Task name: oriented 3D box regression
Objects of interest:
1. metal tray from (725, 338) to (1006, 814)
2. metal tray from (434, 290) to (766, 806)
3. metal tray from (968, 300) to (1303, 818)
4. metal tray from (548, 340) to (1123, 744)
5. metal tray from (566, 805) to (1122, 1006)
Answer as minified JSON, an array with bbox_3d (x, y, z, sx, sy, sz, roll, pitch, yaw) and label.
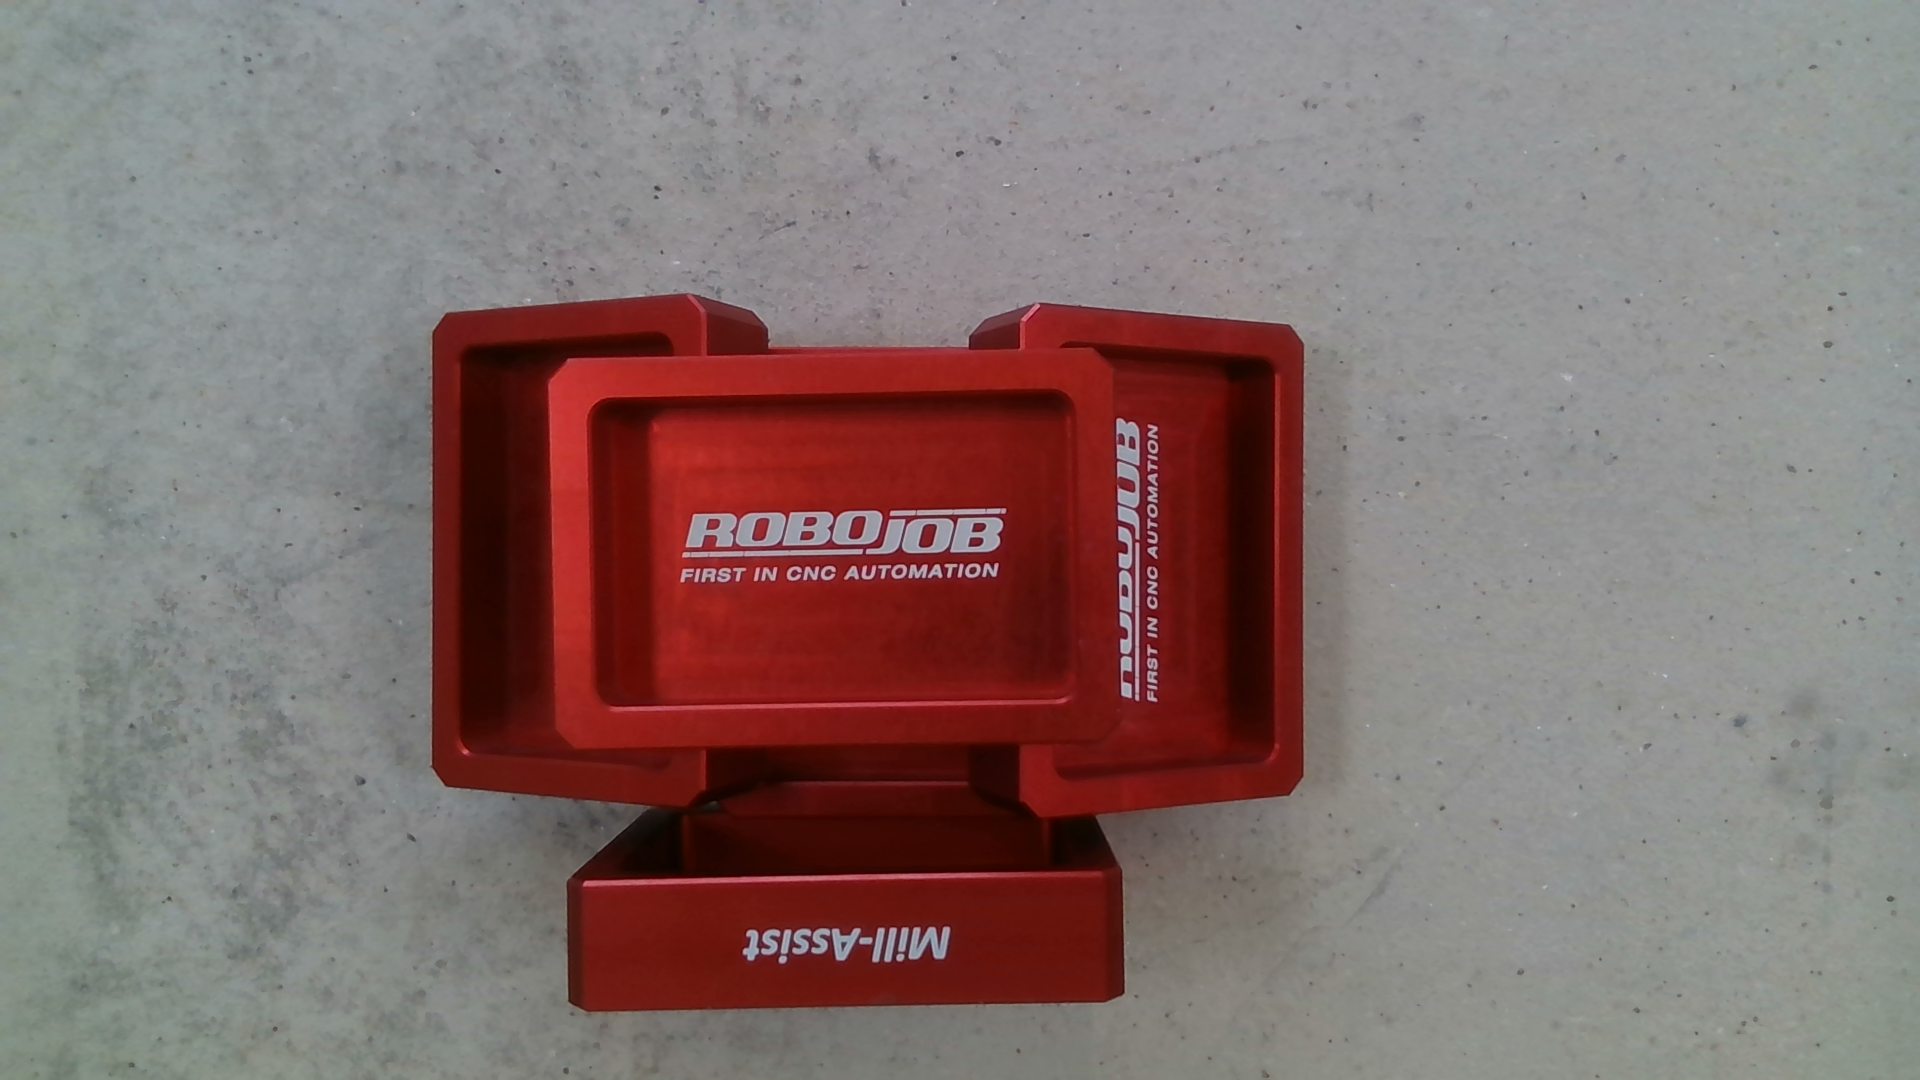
[{"bbox_3d":[-0.022,0.010,0.391,0.090,0.030,0.130,-1,90,2],"label":"metal tray"},{"bbox_3d":[-0.099,0.002,0.376,0.090,0.030,0.130,0,90,25],"label":"metal tray"},{"bbox_3d":[0.049,0.005,0.375,0.090,0.030,0.130,-1,91,-27],"label":"metal tray"},{"bbox_3d":[-0.028,0.001,0.328,0.130,0.030,0.090,-1,90,2],"label":"metal tray"},{"bbox_3d":[-0.027,0.092,0.363,0.130,0.090,0.030,-1,90,0],"label":"metal tray"}]
